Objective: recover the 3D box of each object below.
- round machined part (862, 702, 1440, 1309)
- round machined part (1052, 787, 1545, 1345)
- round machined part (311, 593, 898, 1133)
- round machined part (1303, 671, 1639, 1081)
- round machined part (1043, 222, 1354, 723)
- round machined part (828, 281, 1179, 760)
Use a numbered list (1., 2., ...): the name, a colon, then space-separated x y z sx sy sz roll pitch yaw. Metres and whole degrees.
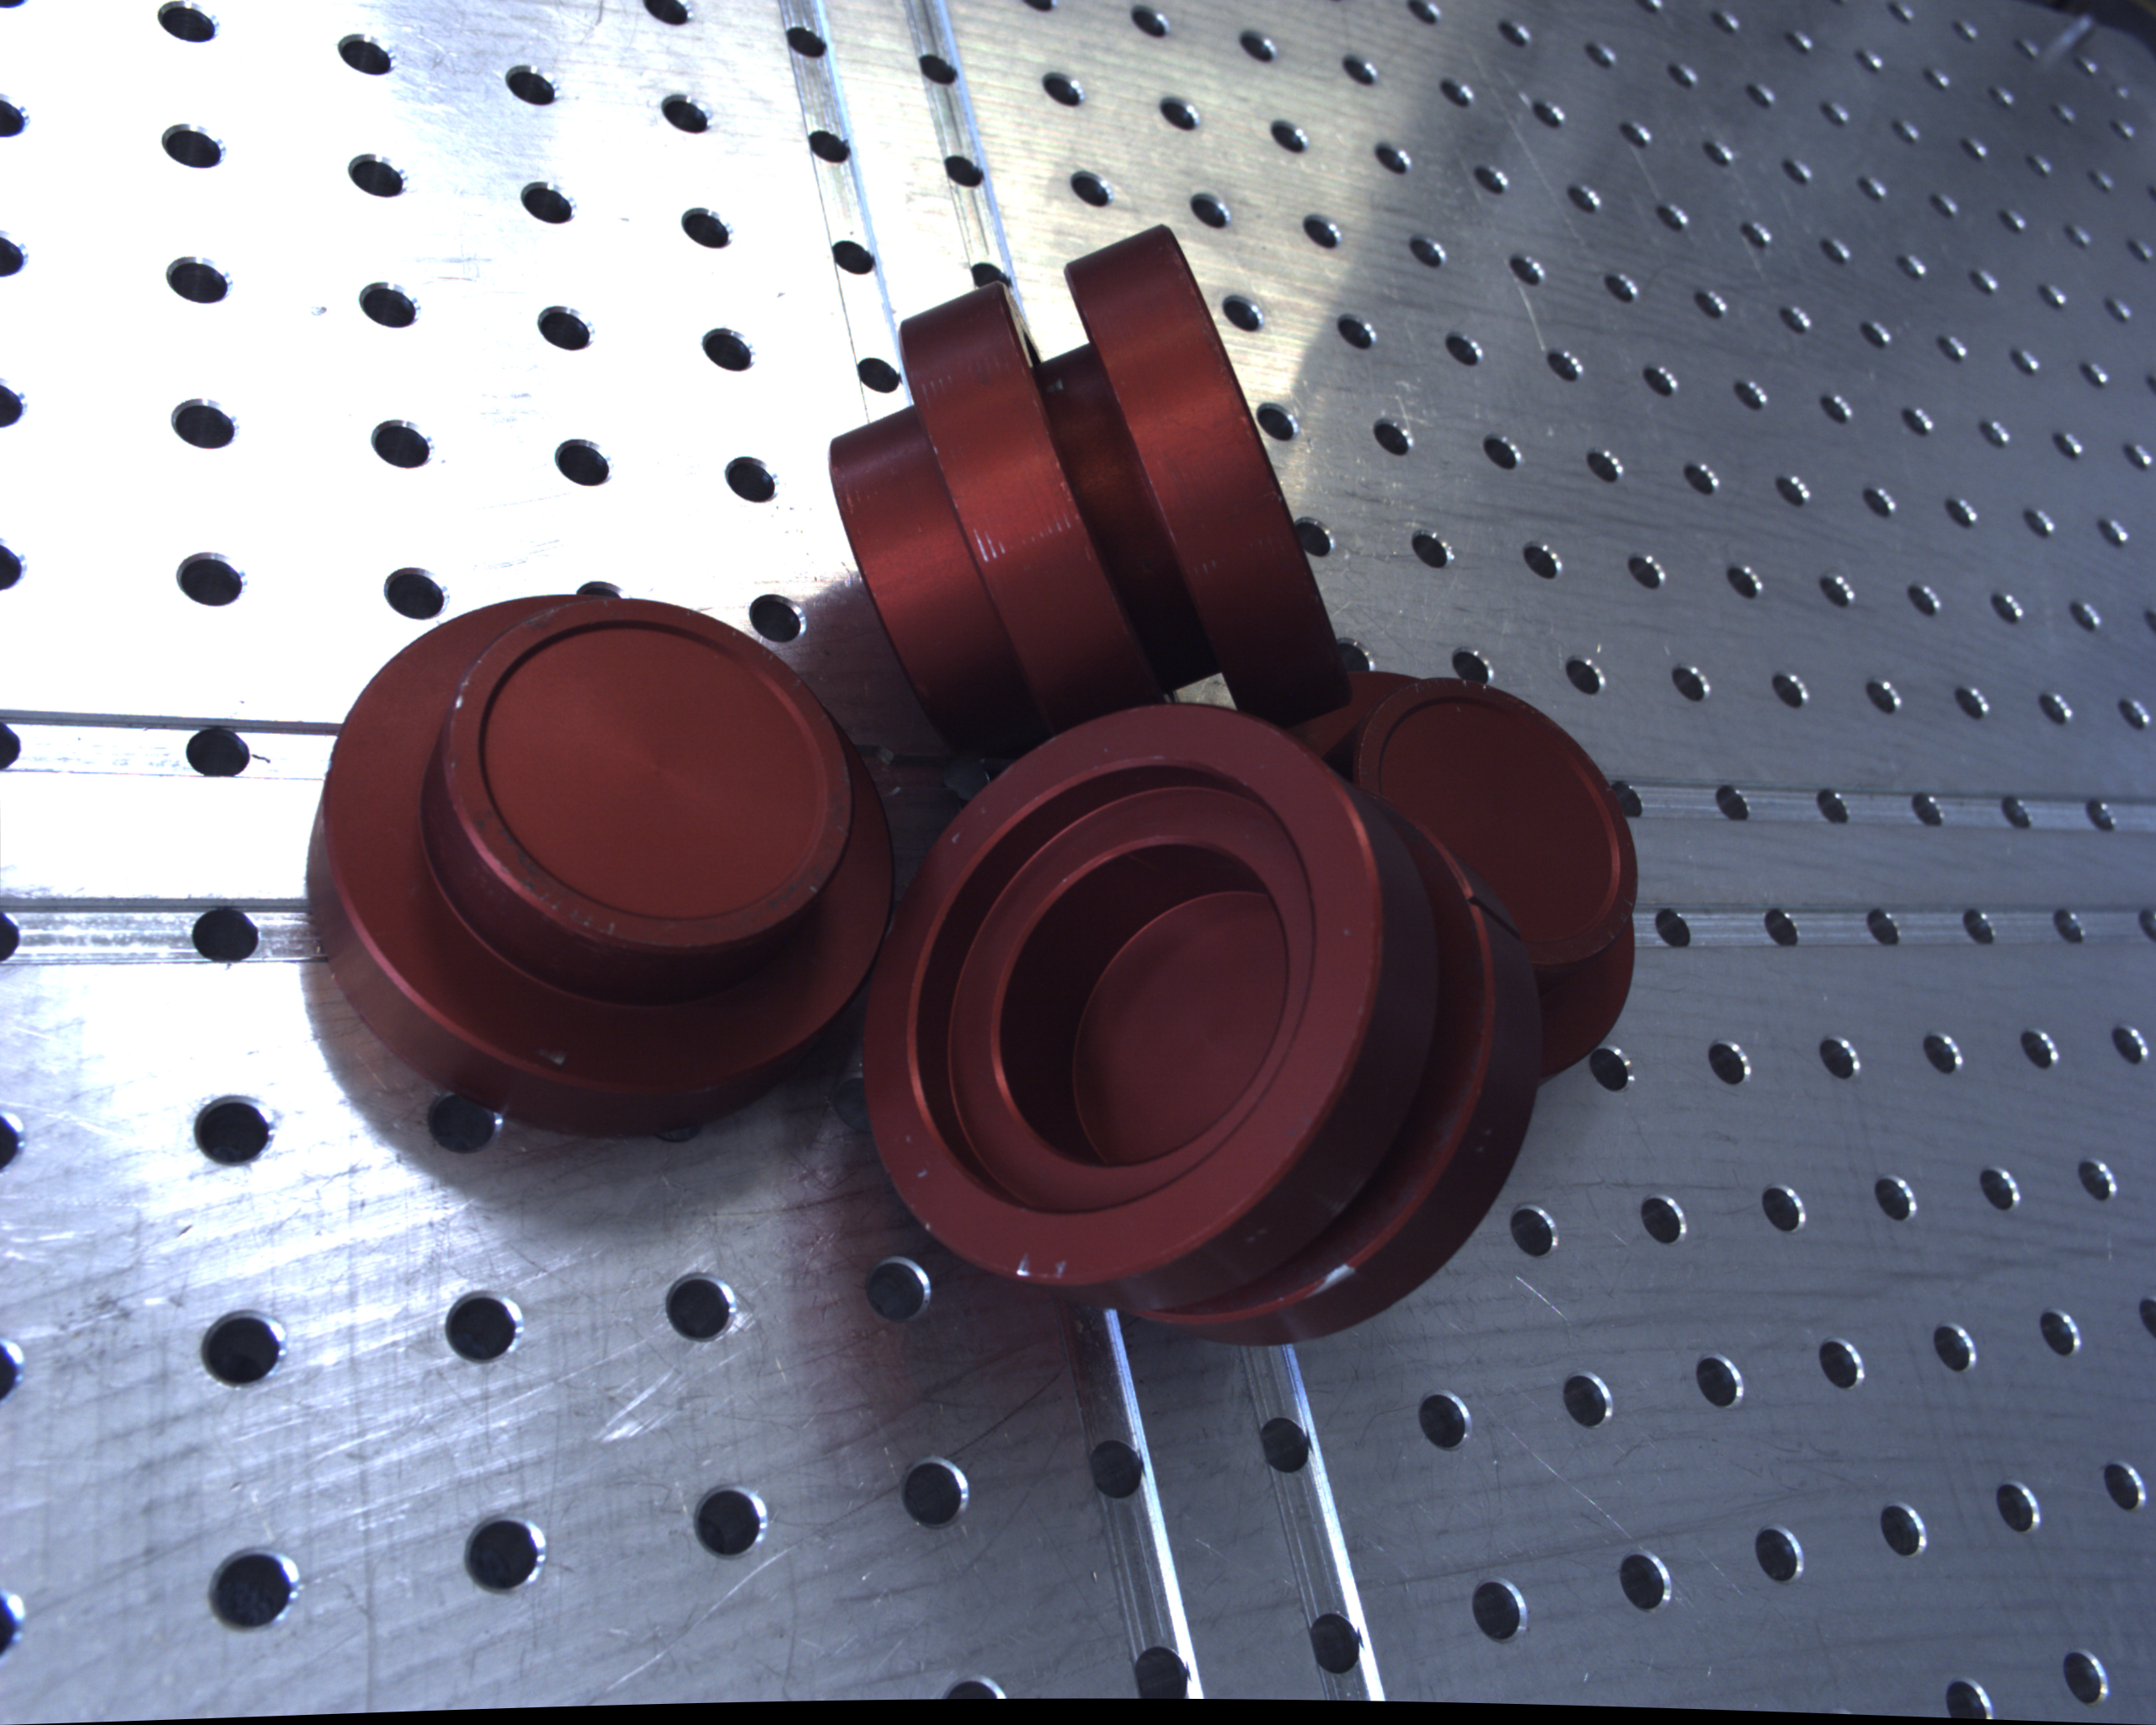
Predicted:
1. round machined part: 0.015 0.026 0.347 0.042 0.098 0.098 34 43 -48
2. round machined part: 0.037 0.037 0.370 0.042 0.098 0.098 35 43 -48
3. round machined part: -0.077 -0.006 0.359 0.099 0.042 0.098 13 56 -21
4. round machined part: 0.077 0.001 0.438 0.099 0.042 0.098 13 56 -21
5. round machined part: 0.016 -0.069 0.403 0.042 0.098 0.098 -22 68 6
6. round machined part: -0.015 -0.058 0.403 0.042 0.098 0.098 -22 68 6
